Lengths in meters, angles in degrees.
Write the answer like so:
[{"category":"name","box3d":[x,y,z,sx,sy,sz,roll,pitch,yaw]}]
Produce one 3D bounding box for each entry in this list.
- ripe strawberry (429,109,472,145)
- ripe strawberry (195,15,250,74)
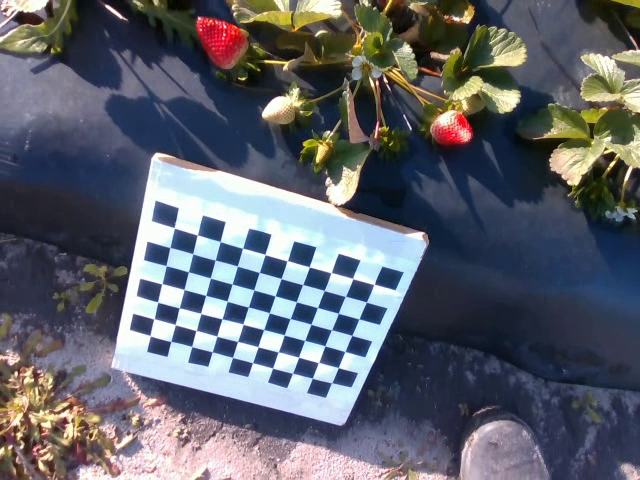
[{"category":"ripe strawberry","box3d":[0.115,-0.093,0.510,0.042,0.037,0.045,-14,32,-24]},{"category":"ripe strawberry","box3d":[-0.080,-0.164,0.487,0.054,0.044,0.036,38,24,-26]}]
